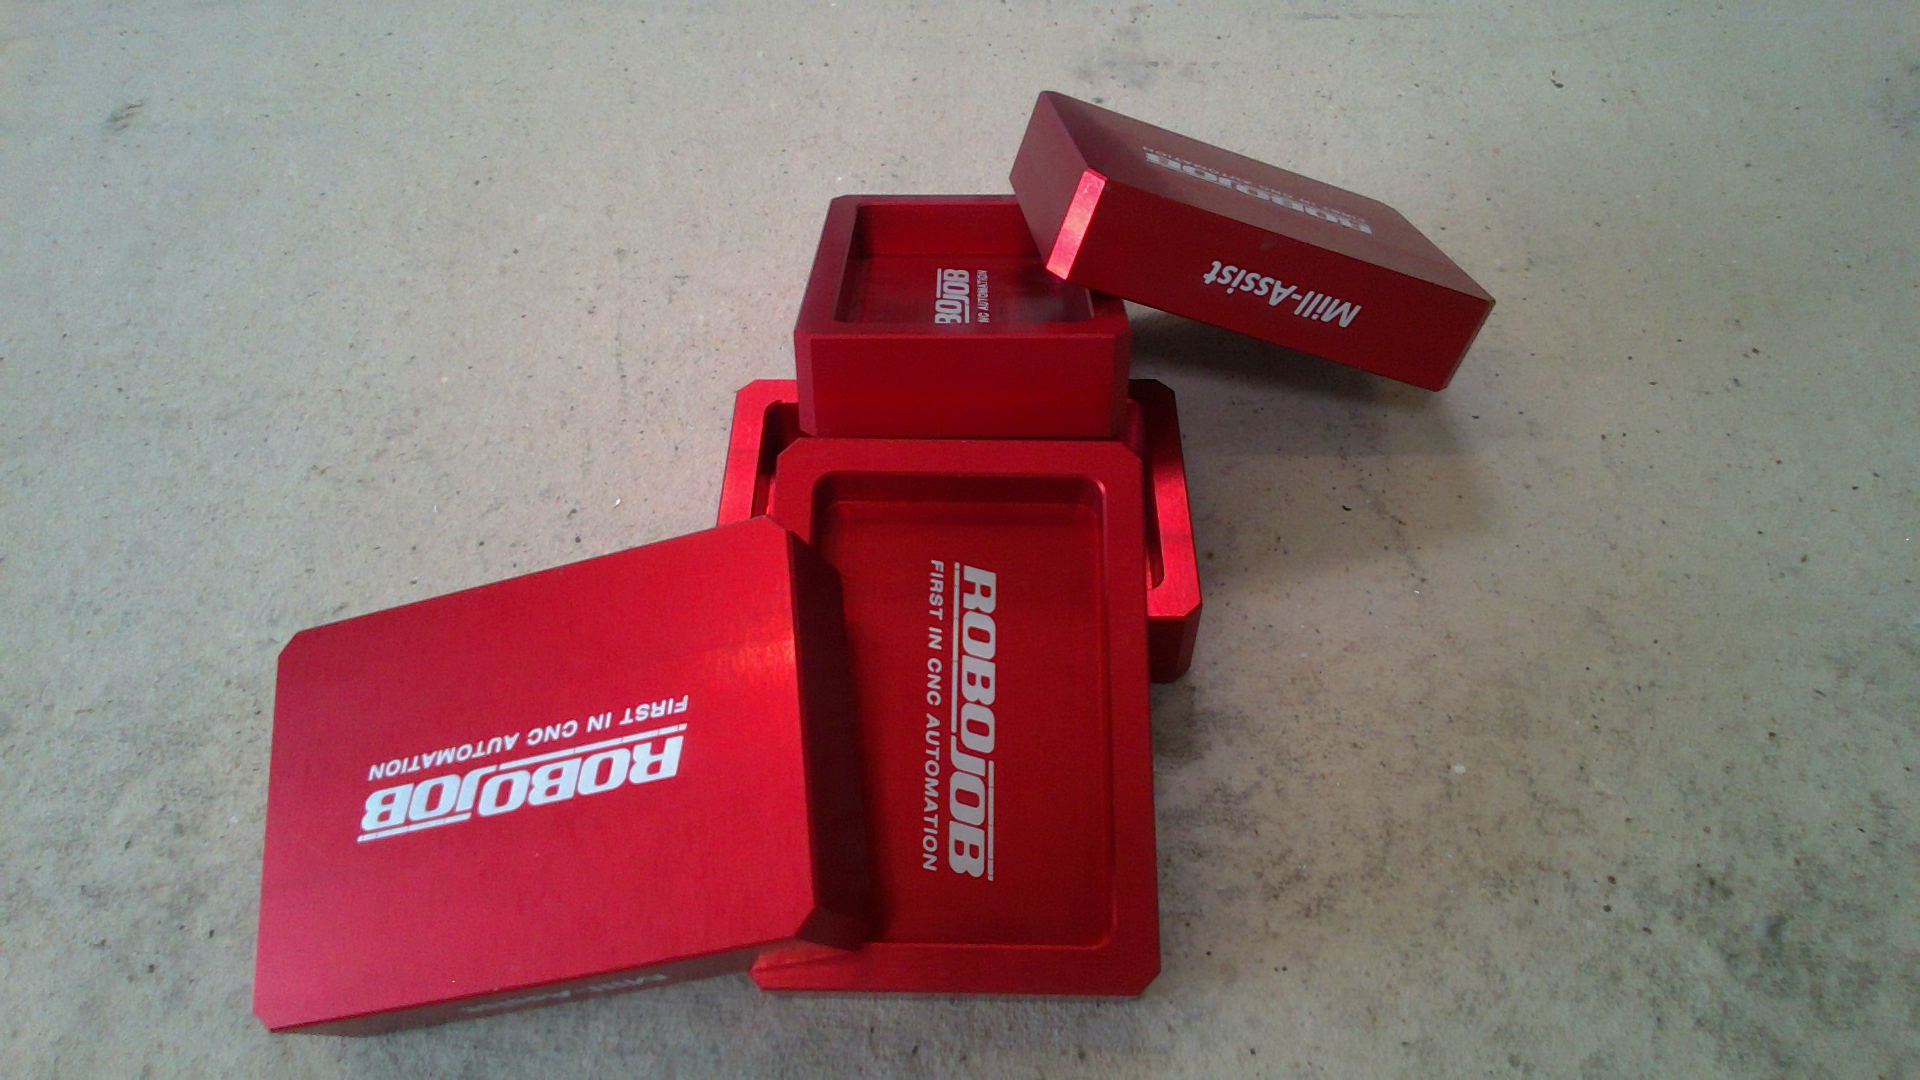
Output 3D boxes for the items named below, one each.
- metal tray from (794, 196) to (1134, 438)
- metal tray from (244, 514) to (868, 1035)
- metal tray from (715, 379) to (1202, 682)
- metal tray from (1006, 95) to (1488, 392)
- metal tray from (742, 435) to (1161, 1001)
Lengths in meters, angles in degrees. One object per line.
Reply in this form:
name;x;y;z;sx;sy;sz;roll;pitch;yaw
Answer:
metal tray;0.001;-0.073;0.424;0.090;0.030;0.130;0;30;0
metal tray;-0.090;0.054;0.305;0.130;0.030;0.090;-13;65;12
metal tray;-0.002;-0.005;0.393;0.130;0.030;0.090;0;50;0
metal tray;0.085;-0.093;0.426;0.130;0.030;0.090;14;29;-15
metal tray;-0.001;0.040;0.328;0.090;0.030;0.130;1;69;1
